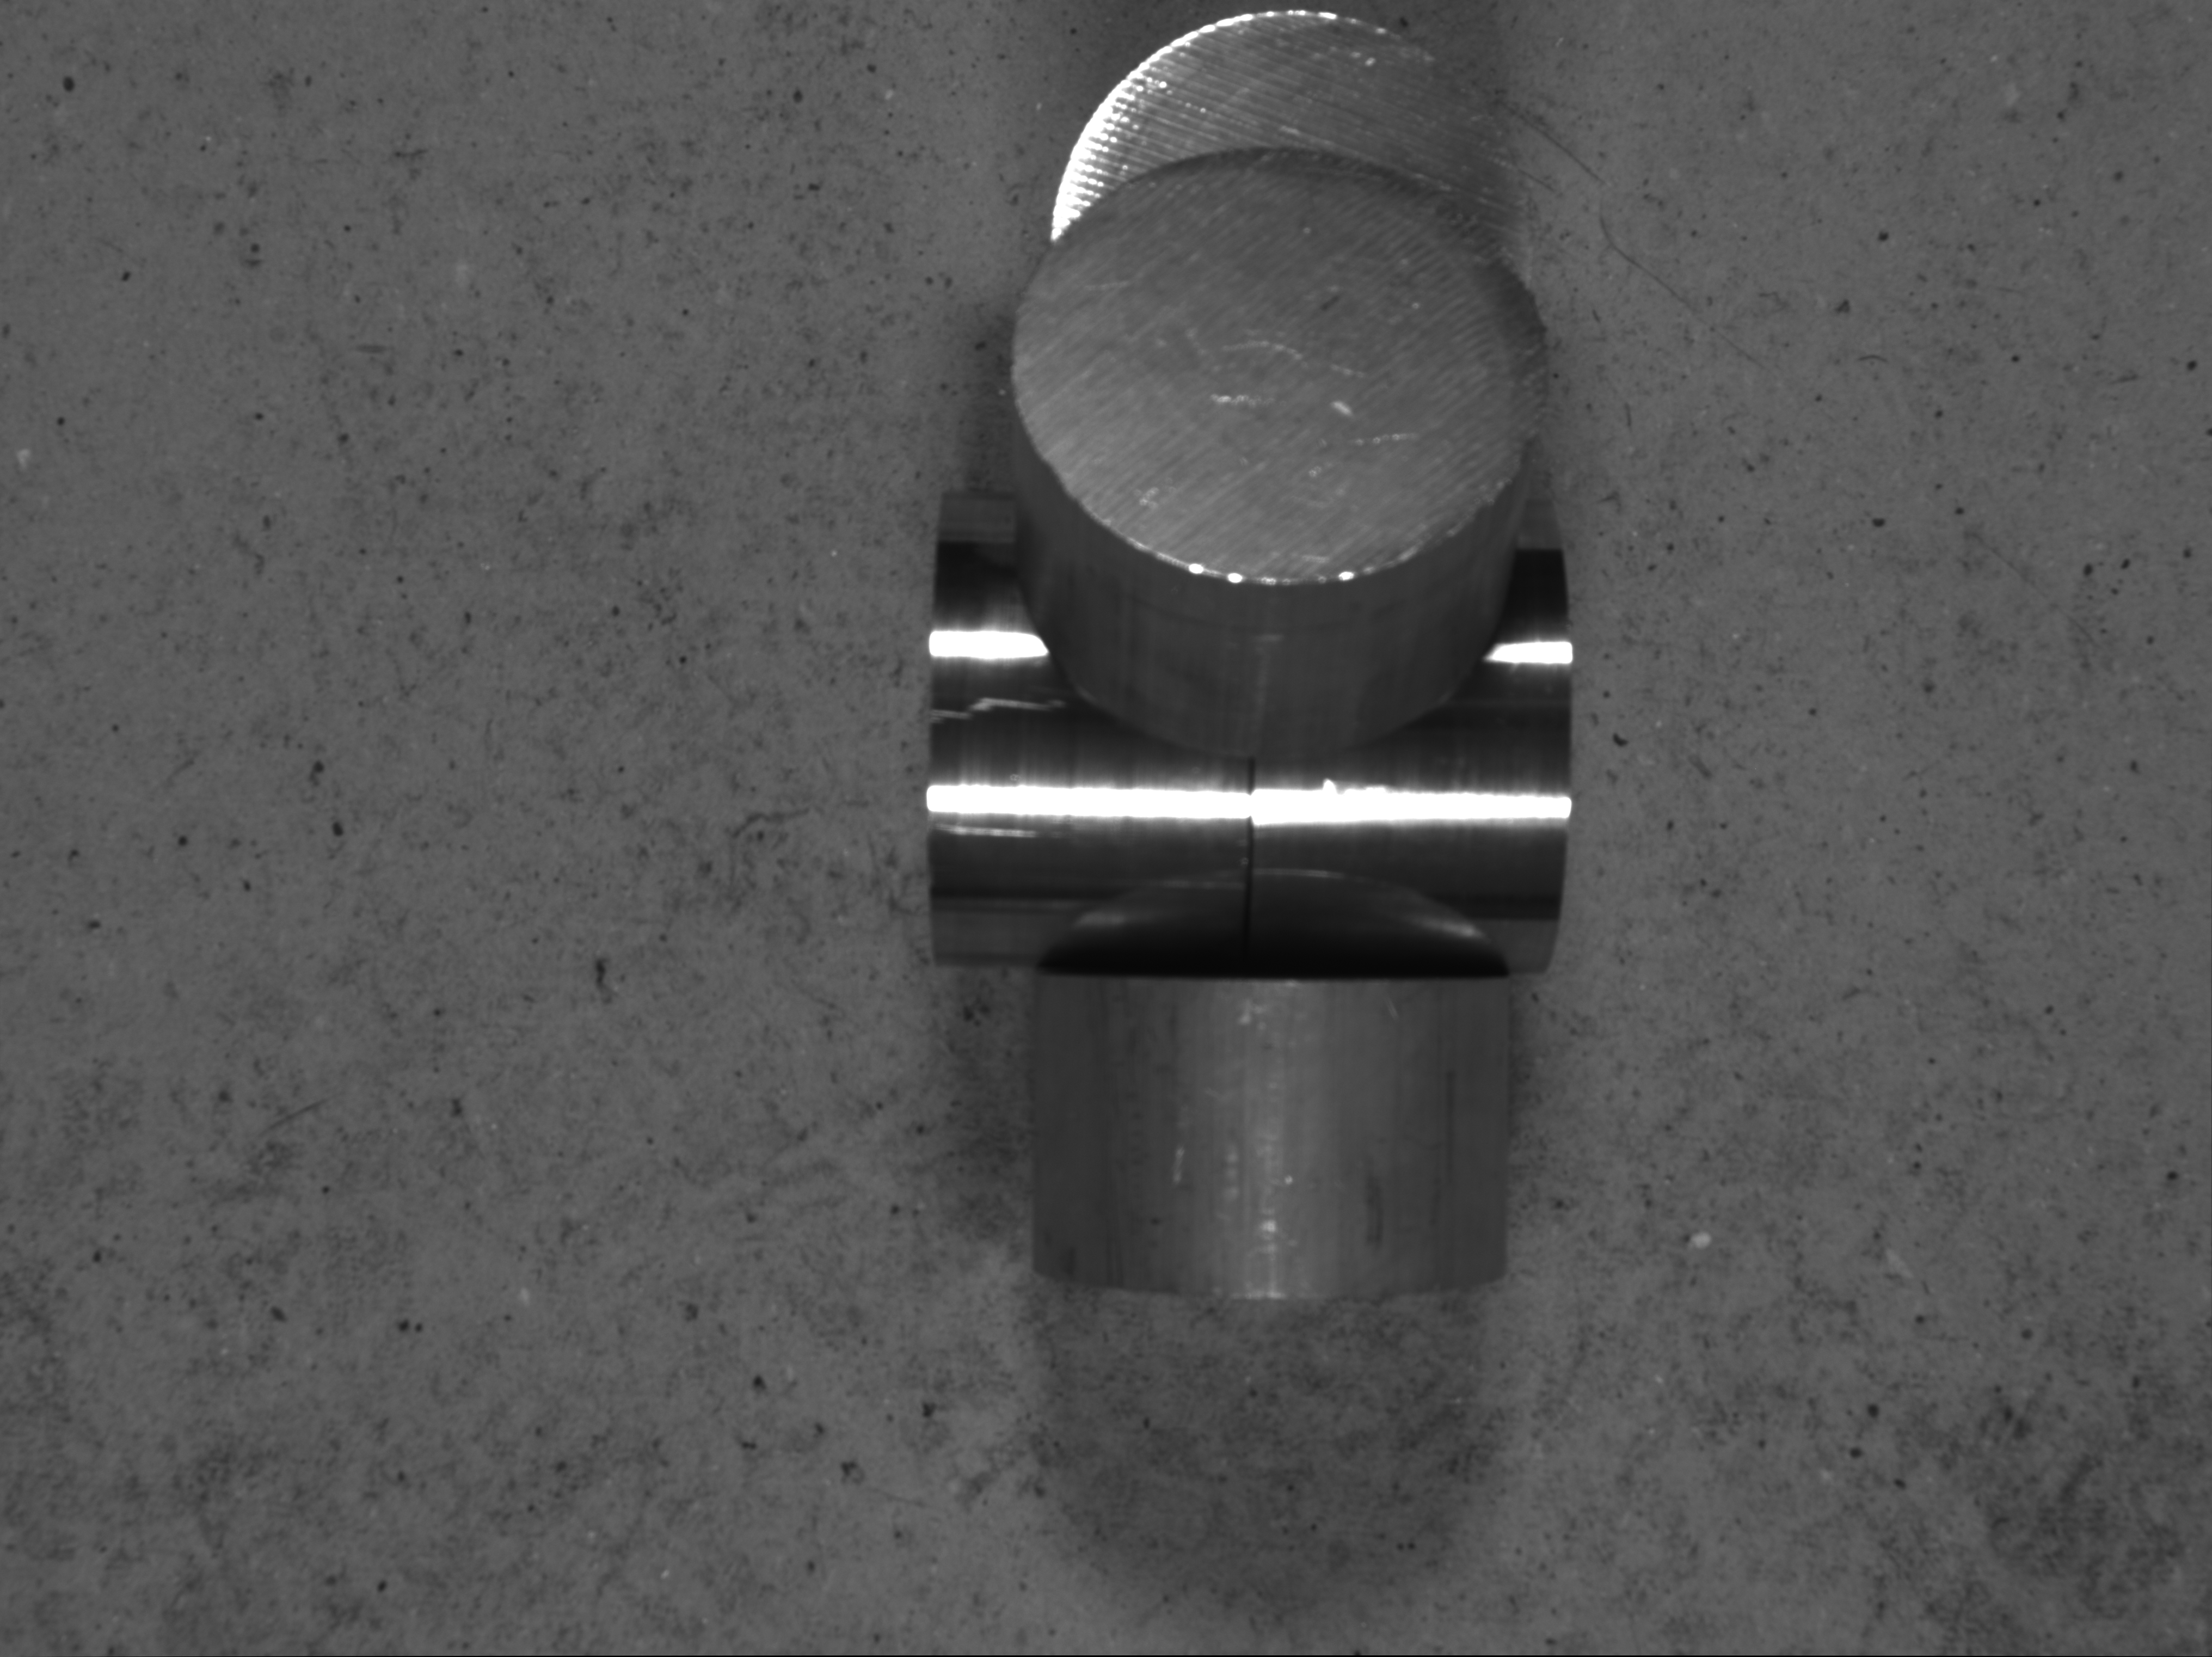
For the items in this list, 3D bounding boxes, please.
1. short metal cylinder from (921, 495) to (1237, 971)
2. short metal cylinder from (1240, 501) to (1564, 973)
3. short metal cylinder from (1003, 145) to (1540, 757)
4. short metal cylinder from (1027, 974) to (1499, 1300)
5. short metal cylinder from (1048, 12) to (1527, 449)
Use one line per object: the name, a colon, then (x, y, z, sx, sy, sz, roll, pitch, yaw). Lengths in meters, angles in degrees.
short metal cylinder: (-0.004, -0.016, 0.618, 0.050, 0.080, 0.080, 1, 90, 0)
short metal cylinder: (0.048, -0.015, 0.618, 0.050, 0.080, 0.080, 0, 90, 0)
short metal cylinder: (0.024, -0.058, 0.567, 0.080, 0.050, 0.080, 0, 61, -1)
short metal cylinder: (0.027, 0.050, 0.618, 0.080, 0.080, 0.050, 0, 90, 0)
short metal cylinder: (0.030, -0.096, 0.634, 0.080, 0.050, 0.080, 0, 90, 0)
